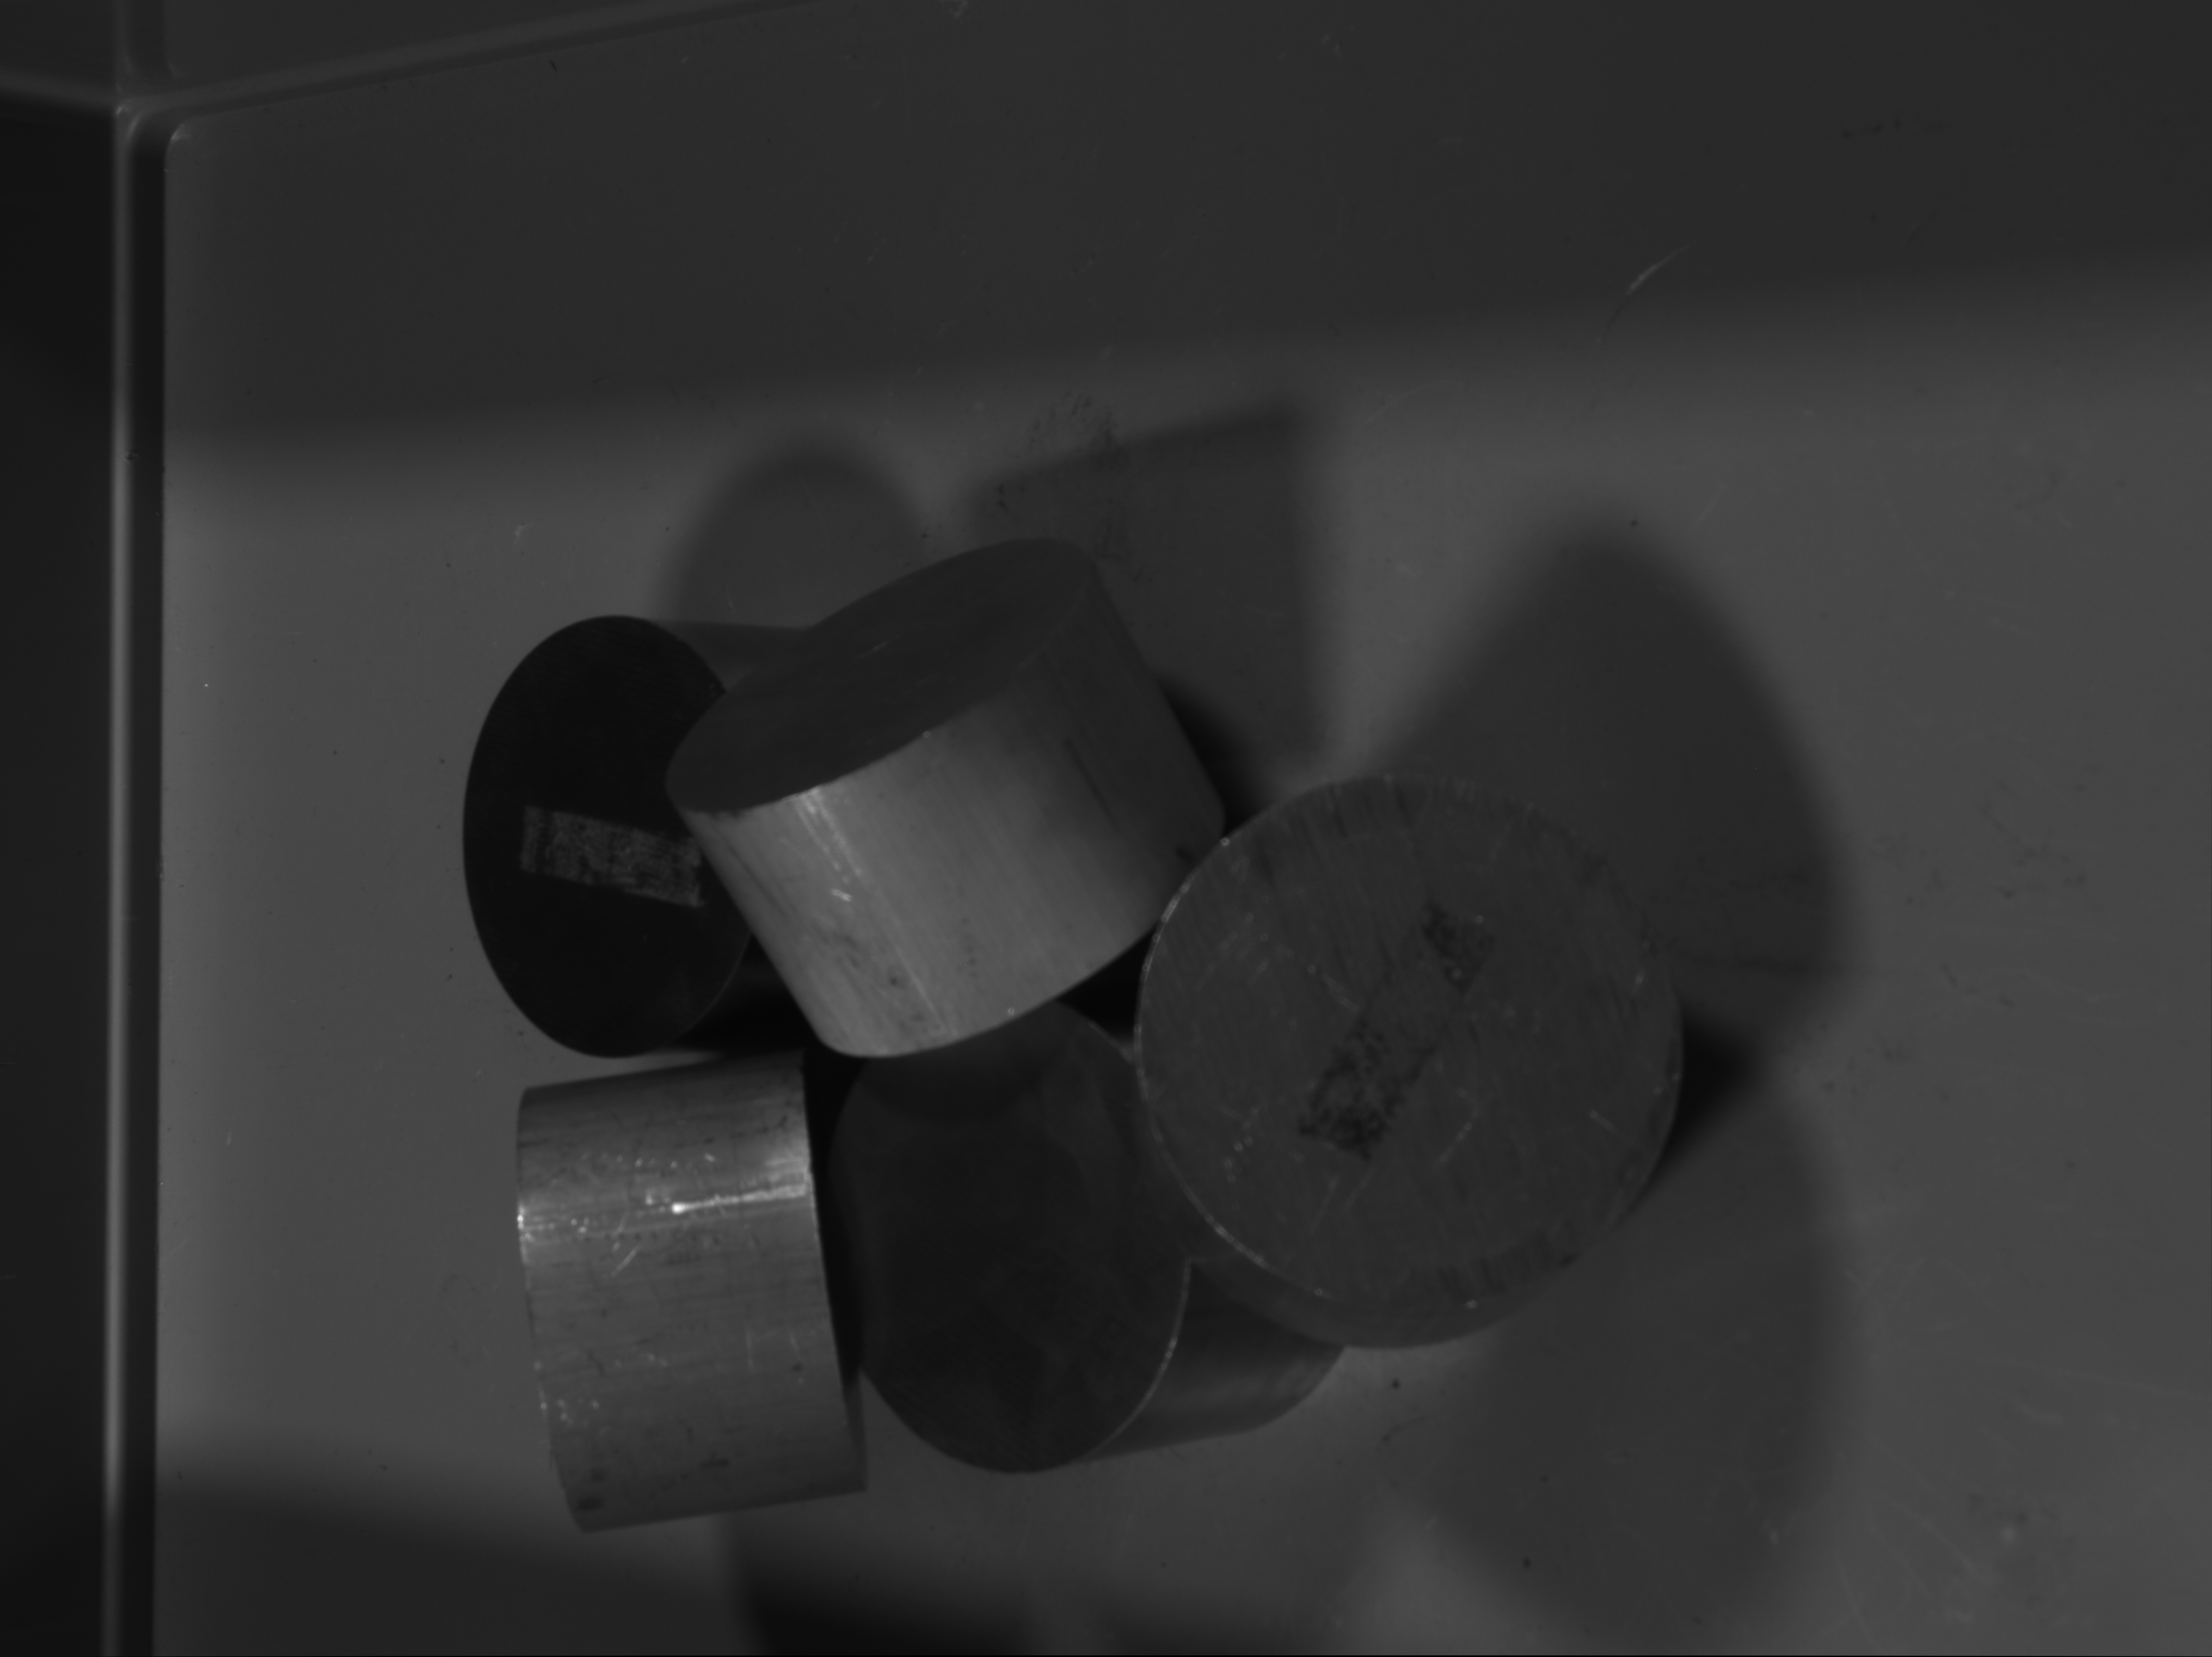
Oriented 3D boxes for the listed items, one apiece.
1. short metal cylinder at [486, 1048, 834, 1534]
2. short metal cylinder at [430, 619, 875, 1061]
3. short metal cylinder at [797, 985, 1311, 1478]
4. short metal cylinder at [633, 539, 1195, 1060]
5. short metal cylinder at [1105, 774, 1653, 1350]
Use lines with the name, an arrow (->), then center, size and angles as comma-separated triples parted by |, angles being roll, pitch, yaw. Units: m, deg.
short metal cylinder -> -0.079, 0.083, 0.655 | 0.050, 0.080, 0.080 | -8, 83, -3
short metal cylinder -> -0.080, 0.002, 0.683 | 0.080, 0.050, 0.080 | 0, 90, 39
short metal cylinder -> -0.006, 0.067, 0.624 | 0.080, 0.050, 0.080 | 0, 90, 39
short metal cylinder -> -0.032, -0.006, 0.616 | 0.080, 0.080, 0.050 | -11, 119, 39
short metal cylinder -> 0.040, 0.037, 0.559 | 0.080, 0.050, 0.080 | 0, 76, -1
